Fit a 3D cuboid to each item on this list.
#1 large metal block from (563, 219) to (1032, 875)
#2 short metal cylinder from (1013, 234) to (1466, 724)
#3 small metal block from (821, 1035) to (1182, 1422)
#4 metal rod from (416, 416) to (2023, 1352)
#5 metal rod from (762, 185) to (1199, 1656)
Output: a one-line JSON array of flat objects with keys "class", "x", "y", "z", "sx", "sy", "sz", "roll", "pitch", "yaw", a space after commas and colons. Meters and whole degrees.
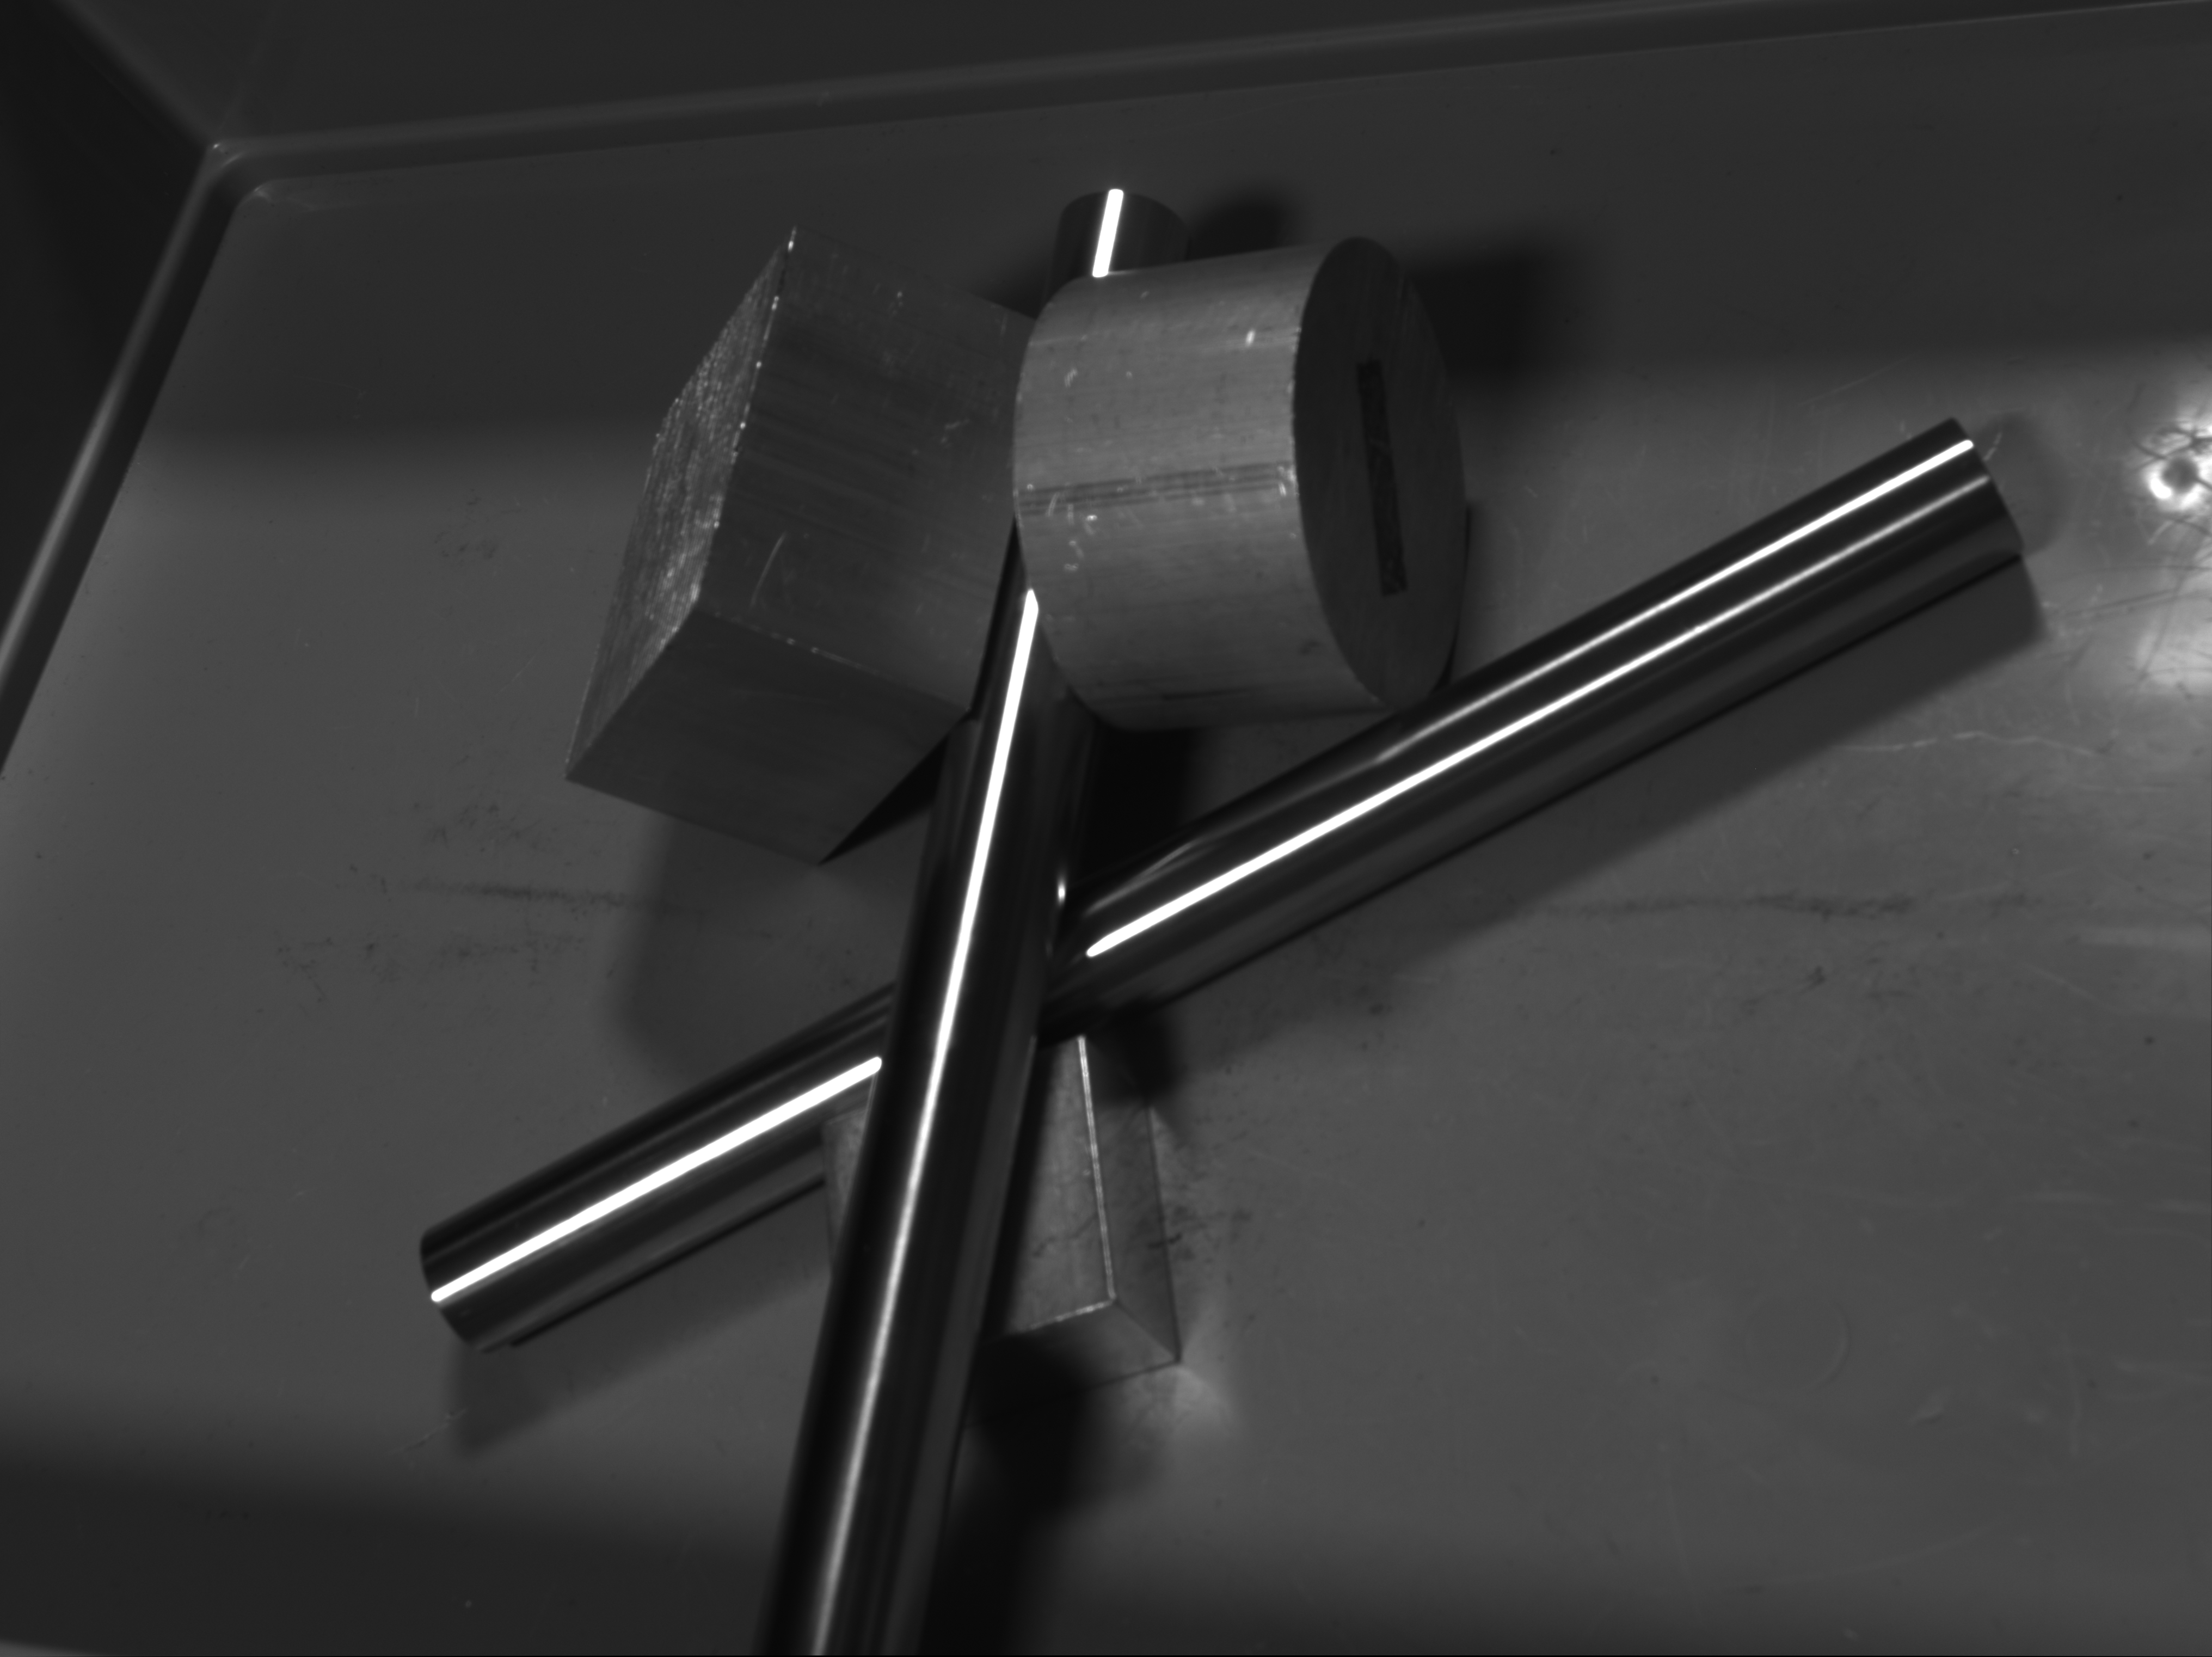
[{"class": "large metal block", "x": -0.054, "y": -0.049, "z": 0.661, "sx": 0.080, "sy": 0.050, "sz": 0.080, "roll": -41, "pitch": 33, "yaw": 57}, {"class": "short metal cylinder", "x": 0.025, "y": -0.059, "z": 0.630, "sx": 0.050, "sy": 0.080, "sz": 0.080, "roll": -4, "pitch": 60, "yaw": 25}, {"class": "small metal block", "x": -0.018, "y": 0.069, "z": 0.610, "sx": 0.050, "sy": 0.025, "sz": 0.050, "roll": -19, "pitch": 54, "yaw": 17}, {"class": "metal rod", "x": 0.014, "y": 0.013, "z": 0.627, "sx": 0.300, "sy": 0.025, "sz": 0.025, "roll": -28, "pitch": 52, "yaw": 11}, {"class": "metal rod", "x": -0.019, "y": 0.019, "z": 0.608, "sx": 0.025, "sy": 0.025, "sz": 0.300, "roll": -5, "pitch": 58, "yaw": 26}]
